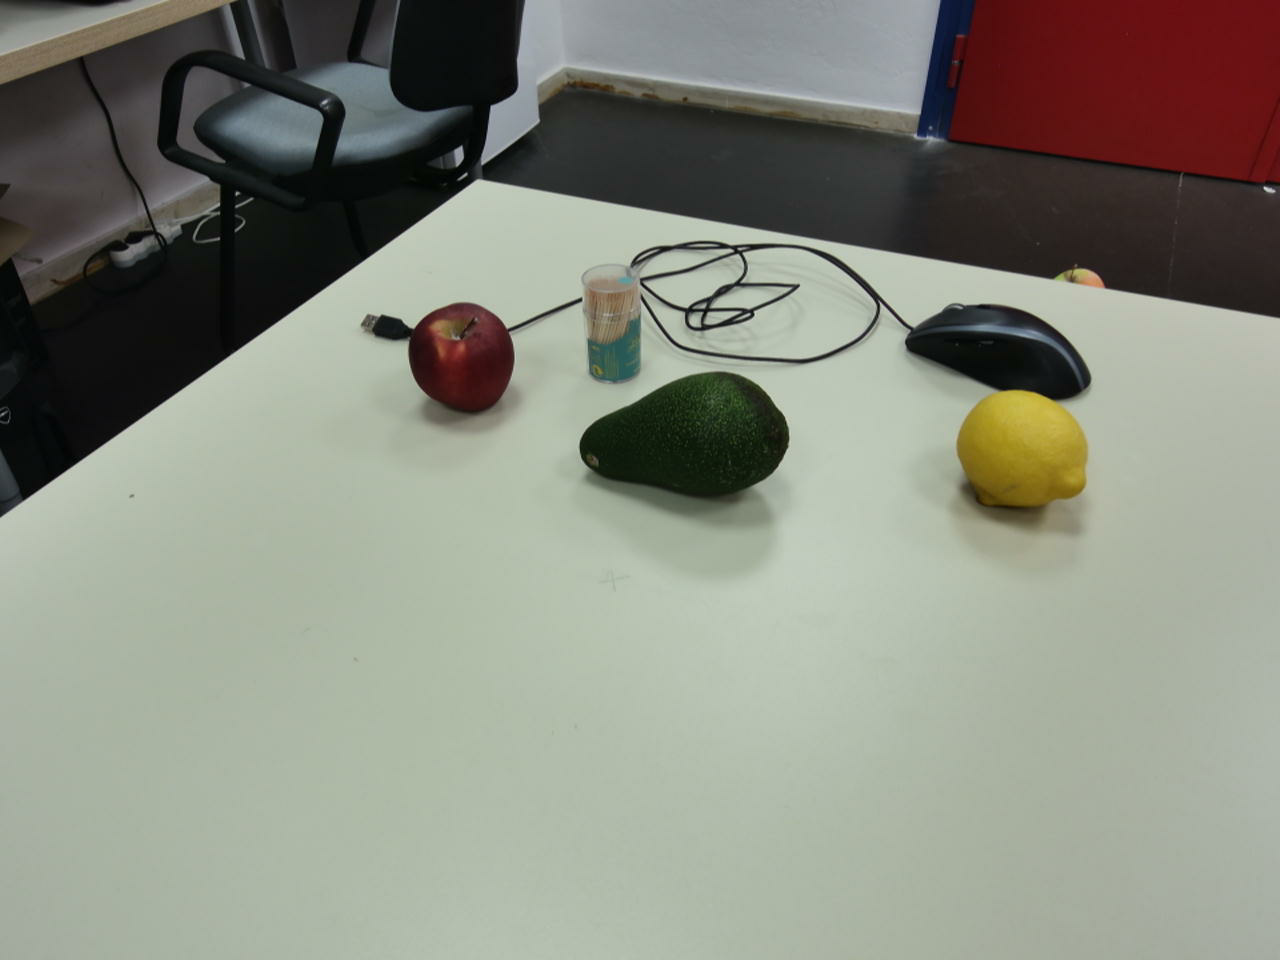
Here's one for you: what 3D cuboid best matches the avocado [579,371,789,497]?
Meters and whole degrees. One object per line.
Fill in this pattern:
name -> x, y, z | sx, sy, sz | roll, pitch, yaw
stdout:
avocado -> 0.028, -0.031, 0.592 | 0.123, 0.076, 0.074 | 20, 43, 24
